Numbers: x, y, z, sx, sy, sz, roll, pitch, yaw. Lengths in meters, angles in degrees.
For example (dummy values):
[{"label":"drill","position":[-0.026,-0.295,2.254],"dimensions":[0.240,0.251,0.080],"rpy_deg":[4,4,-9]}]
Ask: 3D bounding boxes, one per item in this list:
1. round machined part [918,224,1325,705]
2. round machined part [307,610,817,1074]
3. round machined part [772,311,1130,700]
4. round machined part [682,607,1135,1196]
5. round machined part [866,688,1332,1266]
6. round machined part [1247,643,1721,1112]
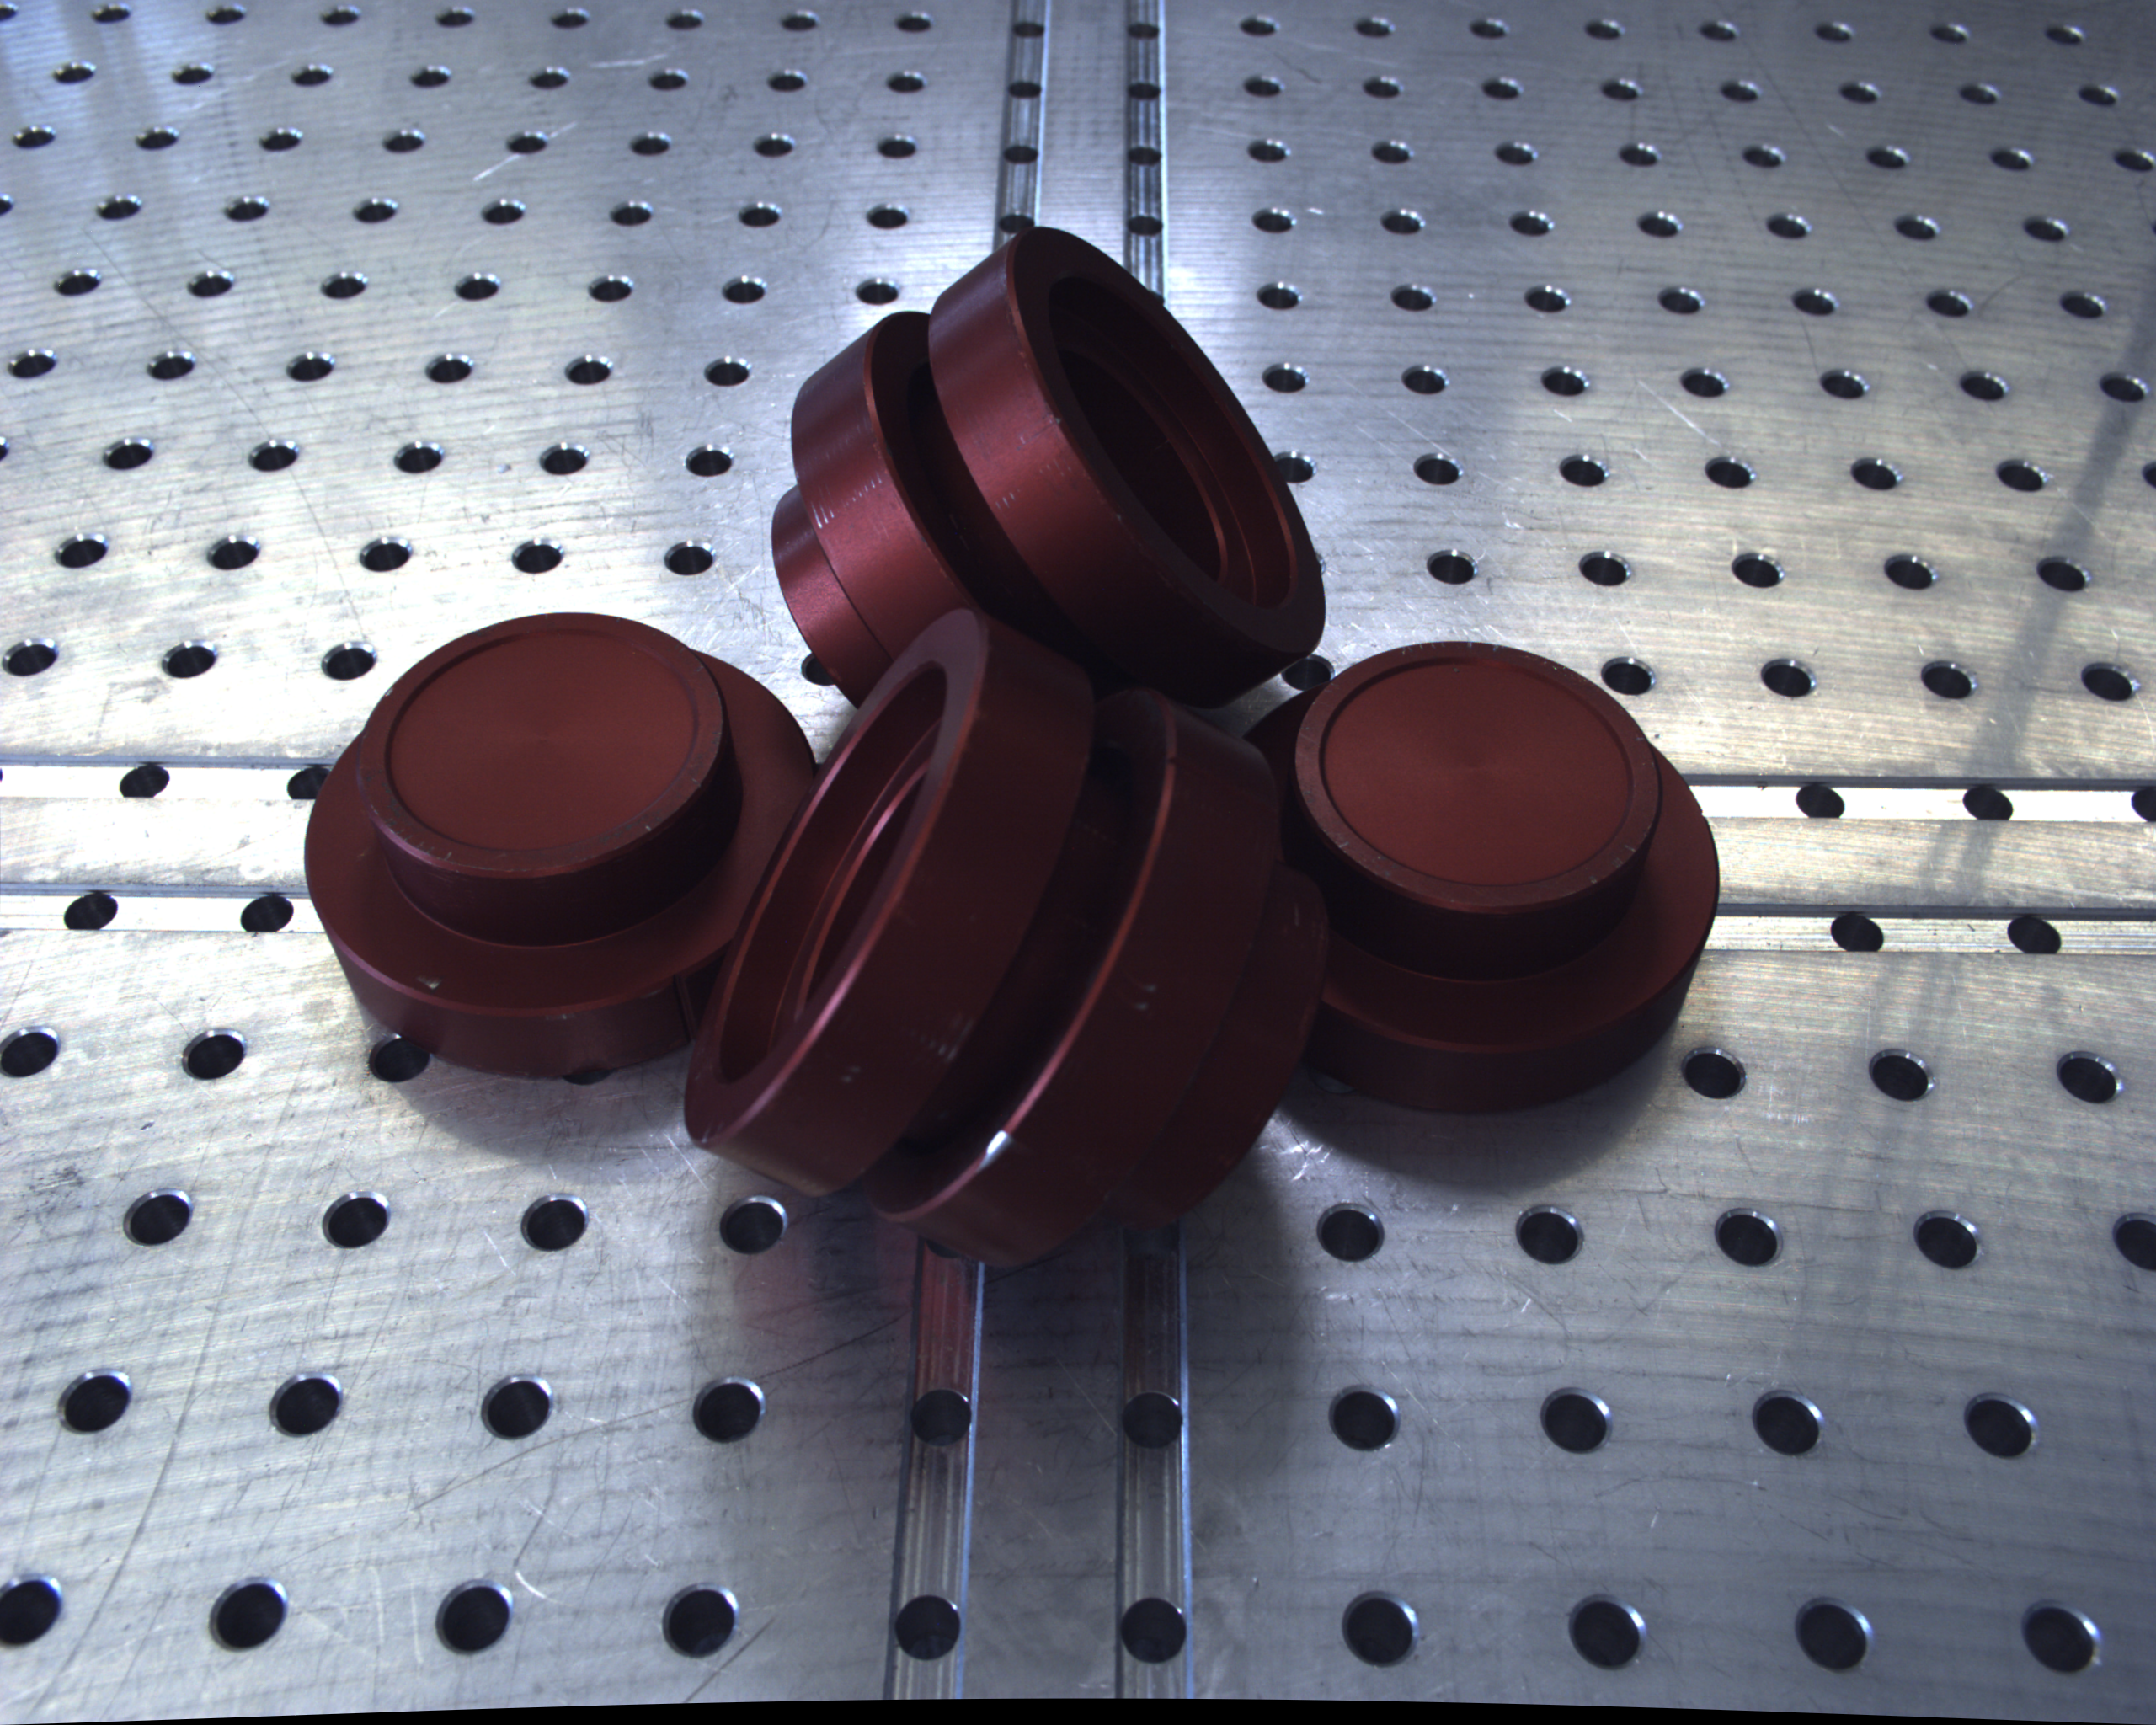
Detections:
[{"label":"round machined part","position":[0.003,-0.073,0.413],"dimensions":[0.042,0.098,0.098],"rpy_deg":[-32,45,26]},{"label":"round machined part","position":[-0.099,-0.011,0.405],"dimensions":[0.099,0.042,0.098],"rpy_deg":[0,50,0]},{"label":"round machined part","position":[-0.023,-0.059,0.425],"dimensions":[0.042,0.098,0.098],"rpy_deg":[-32,45,26]},{"label":"round machined part","position":[-0.023,0.010,0.346],"dimensions":[0.042,0.098,0.098],"rpy_deg":[28,48,-18]},{"label":"round machined part","position":[0.006,0.023,0.353],"dimensions":[0.042,0.098,0.098],"rpy_deg":[29,48,-18]},{"label":"round machined part","position":[0.074,-0.004,0.401],"dimensions":[0.099,0.042,0.098],"rpy_deg":[0,50,0]}]
